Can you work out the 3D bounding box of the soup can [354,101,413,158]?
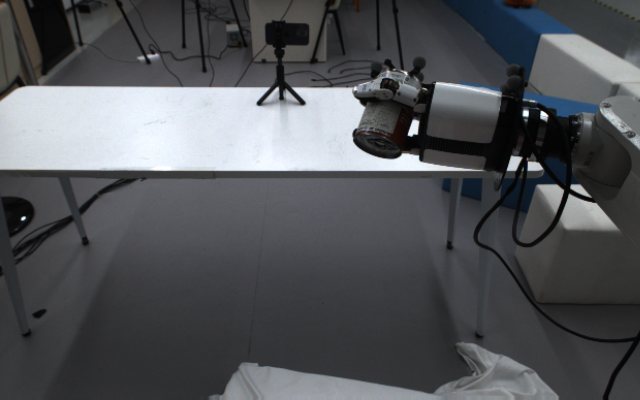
[{"bbox_3d":[0.094,-0.117,0.656,0.067,0.067,0.101,15,75,18],"label":"soup can"}]
